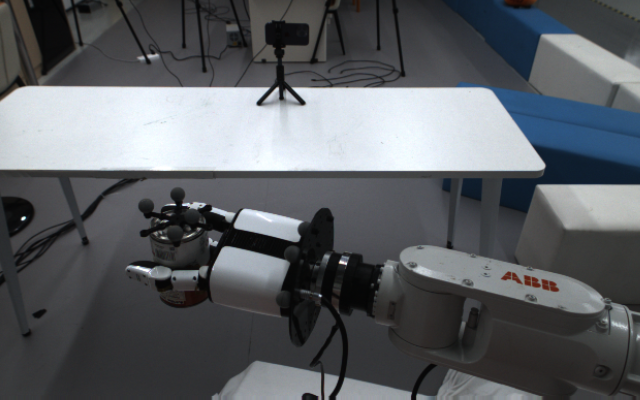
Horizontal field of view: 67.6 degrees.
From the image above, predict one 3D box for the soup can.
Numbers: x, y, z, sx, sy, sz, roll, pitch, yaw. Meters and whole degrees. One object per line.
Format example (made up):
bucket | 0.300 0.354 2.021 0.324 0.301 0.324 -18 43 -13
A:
soup can | -0.165 0.072 0.586 0.067 0.101 0.067 2 32 -1
